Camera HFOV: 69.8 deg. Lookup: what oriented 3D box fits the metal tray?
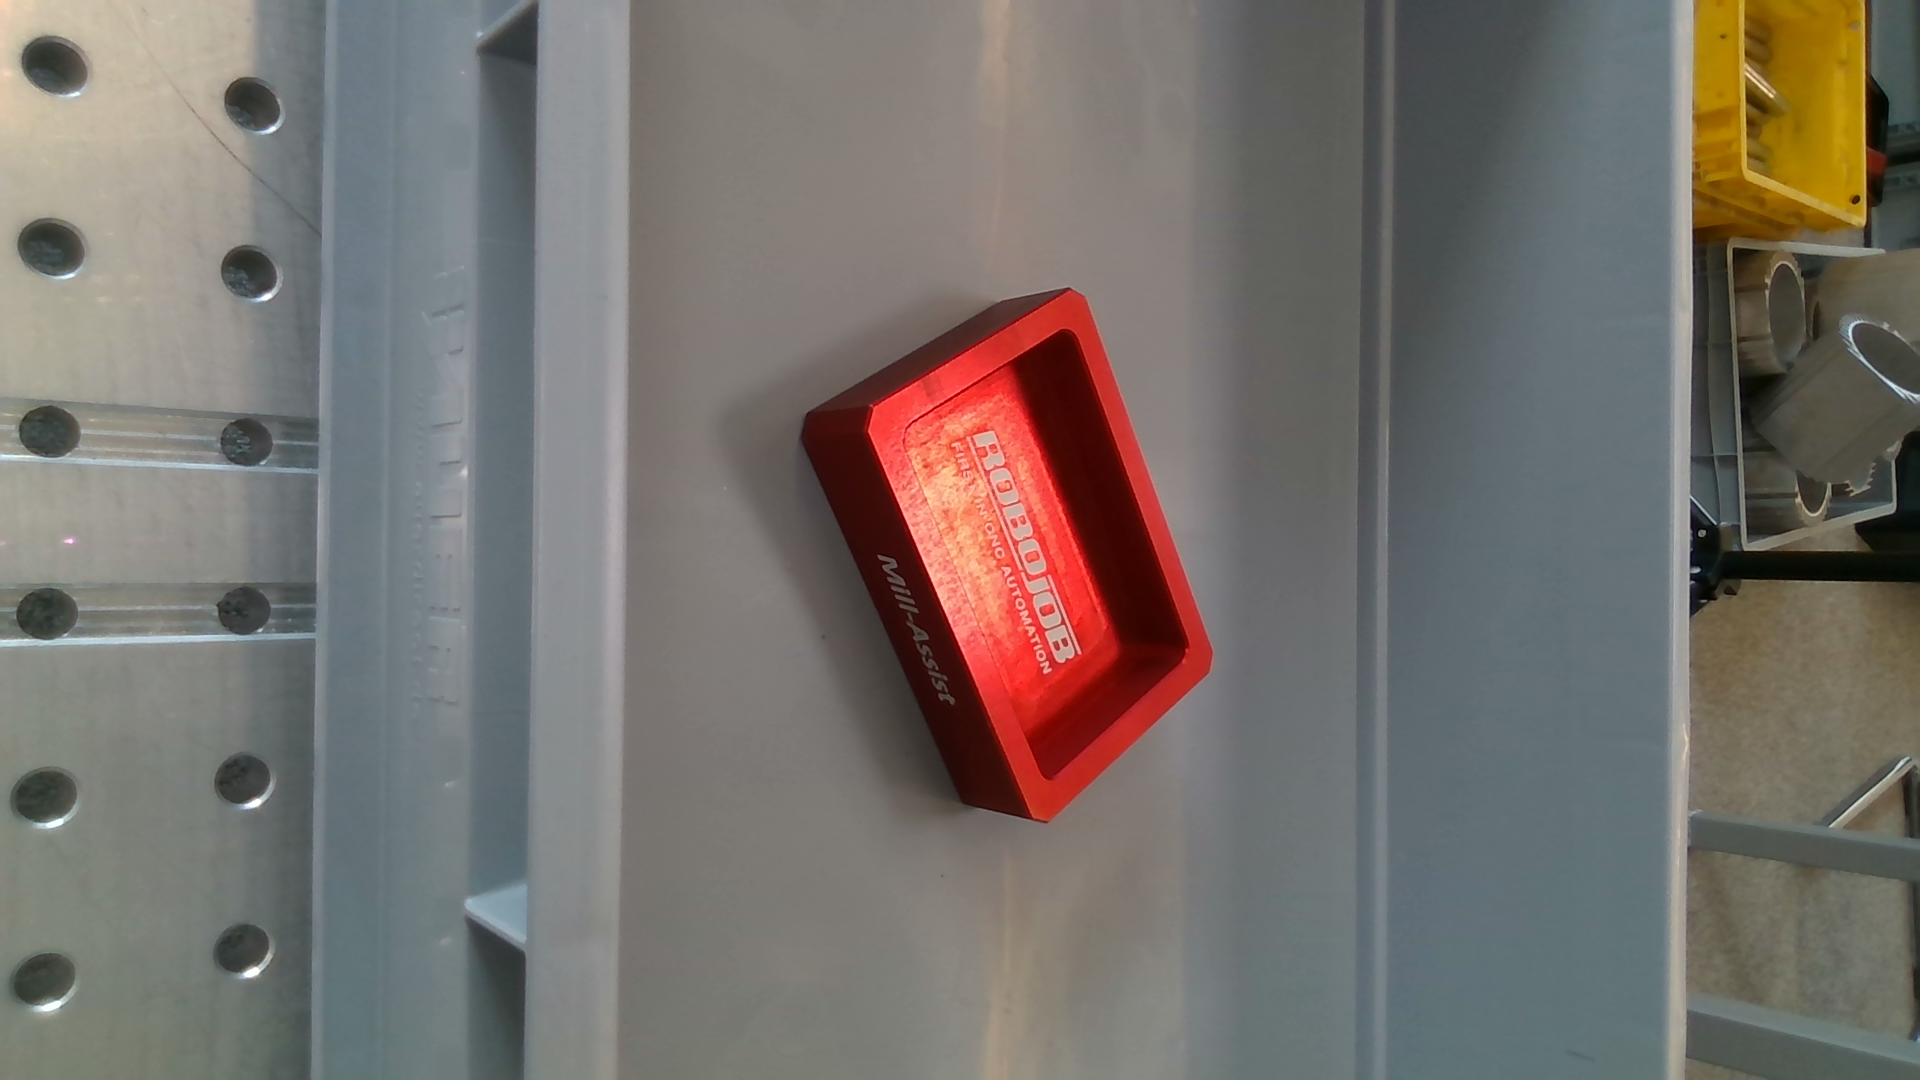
[{"bbox_3d":[0.018,0.004,0.400,0.090,0.030,0.130,-35,112,-34],"label":"metal tray"}]
